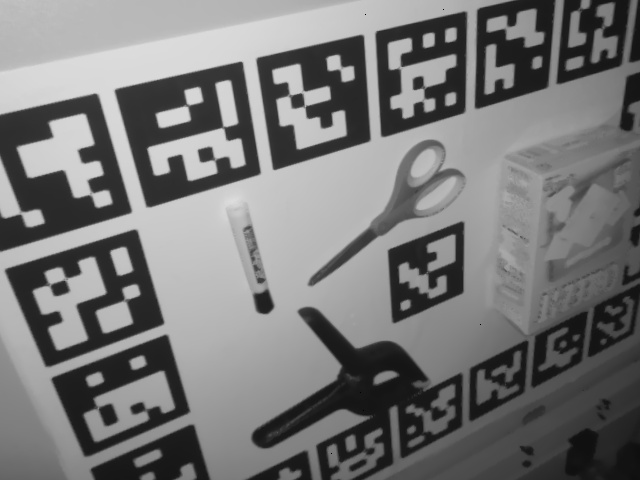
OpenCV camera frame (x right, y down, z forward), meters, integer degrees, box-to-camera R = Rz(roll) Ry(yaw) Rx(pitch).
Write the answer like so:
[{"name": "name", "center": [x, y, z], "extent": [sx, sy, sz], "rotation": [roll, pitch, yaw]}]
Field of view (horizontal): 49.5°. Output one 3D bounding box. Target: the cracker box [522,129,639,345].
[{"name": "cracker box", "center": [0.321, -0.003, 0.798], "extent": [0.166, 0.071, 0.212], "rotation": [-18, 121, -21]}]

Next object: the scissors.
[{"name": "scissors", "center": [0.092, -0.010, 0.696], "extent": [0.203, 0.016, 0.088], "rotation": [-42, 128, -2]}]

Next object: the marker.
[{"name": "marker", "center": [-0.035, 0.030, 0.643], "extent": [0.020, 0.019, 0.120], "rotation": [-23, 123, -18]}]

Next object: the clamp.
[{"name": "clamp", "center": [0.067, 0.164, 0.774], "extent": [0.205, 0.036, 0.164], "rotation": [11, 109, -32]}]
